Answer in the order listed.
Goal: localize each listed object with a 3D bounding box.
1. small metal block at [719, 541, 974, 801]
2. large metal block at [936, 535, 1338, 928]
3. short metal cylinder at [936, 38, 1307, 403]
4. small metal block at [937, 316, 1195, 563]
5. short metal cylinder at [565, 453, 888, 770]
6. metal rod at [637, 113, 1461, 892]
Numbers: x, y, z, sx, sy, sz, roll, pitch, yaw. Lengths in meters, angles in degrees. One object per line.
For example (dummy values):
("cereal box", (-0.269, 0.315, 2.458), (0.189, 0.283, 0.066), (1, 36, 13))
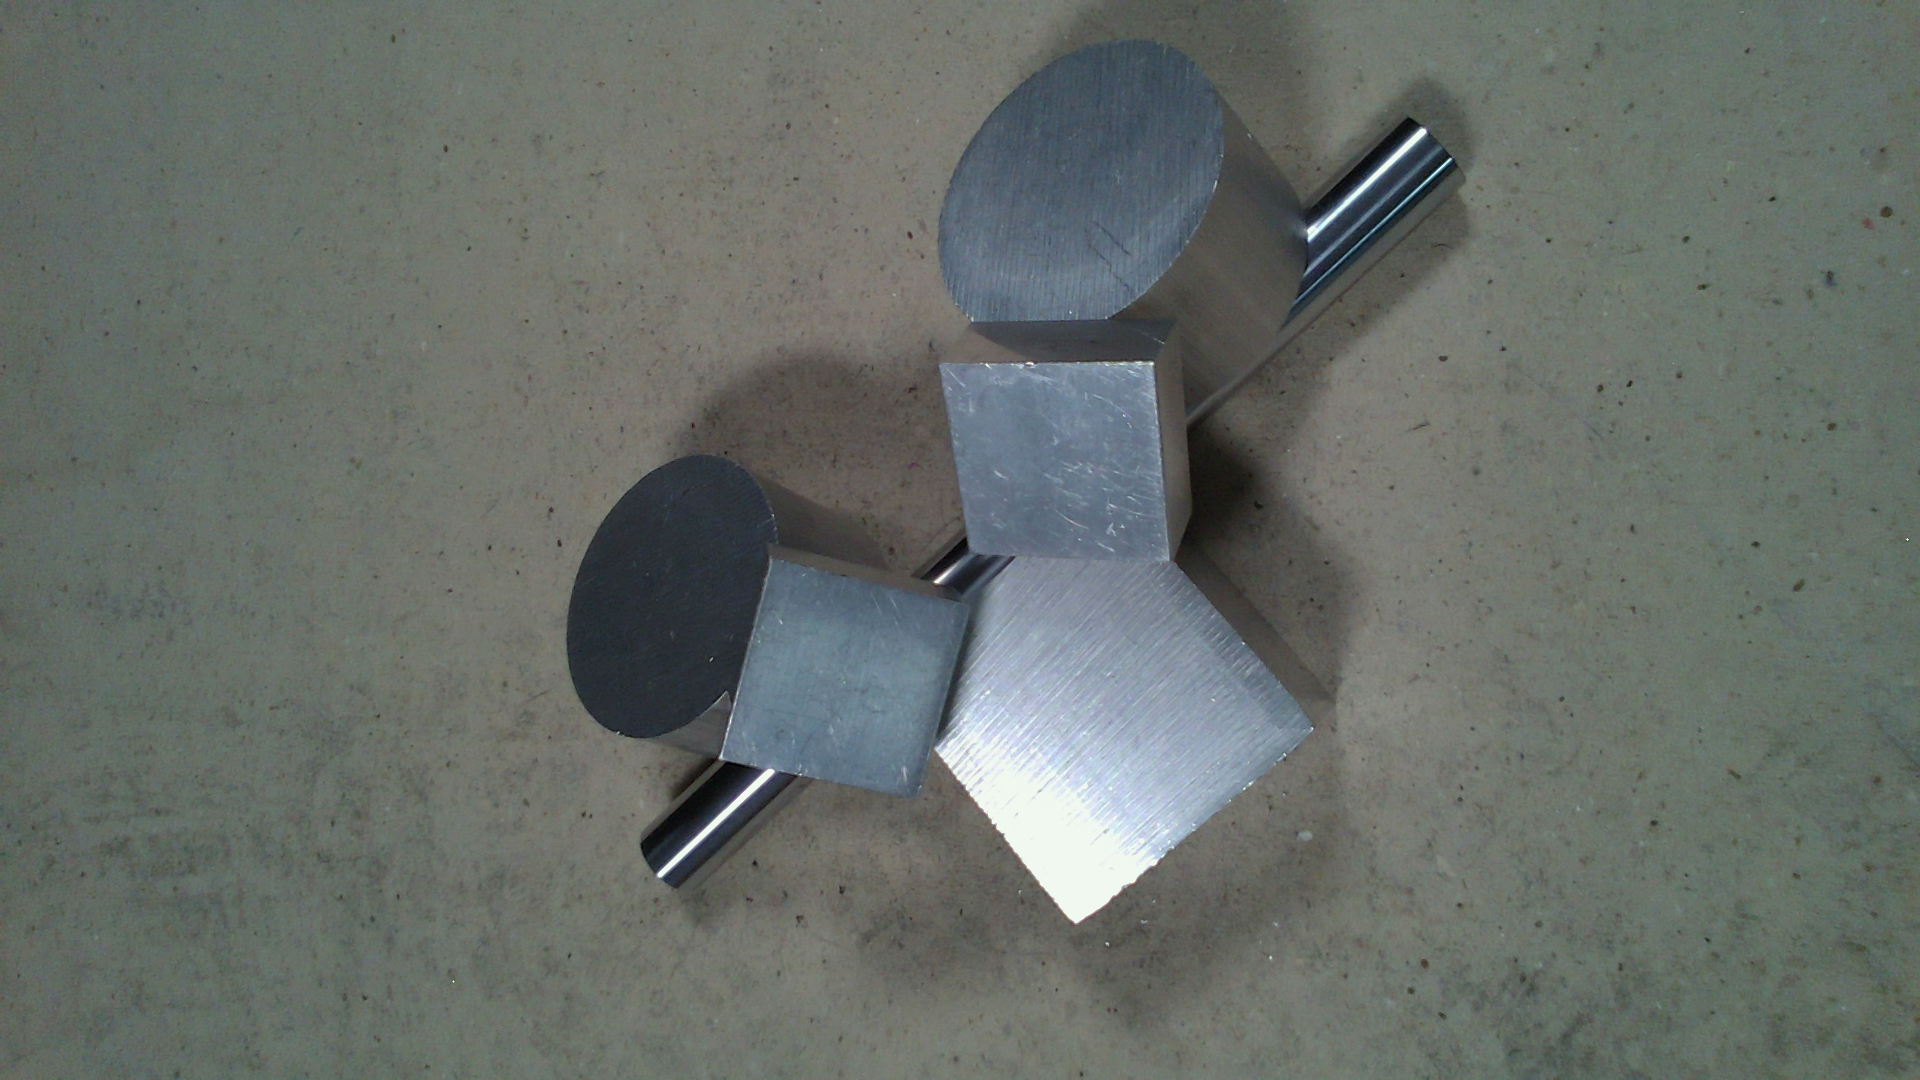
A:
("small metal block", (-0.029, 0.032, 0.341), (0.050, 0.025, 0.050), (14, 96, -13))
("large metal block", (0.041, 0.041, 0.366), (0.080, 0.050, 0.080), (-43, 77, 15))
("short metal cylinder", (0.041, -0.078, 0.352), (0.080, 0.050, 0.080), (-14, 64, 32))
("small metal block", (0.026, -0.024, 0.320), (0.050, 0.025, 0.050), (2, 121, 20))
("short metal cylinder", (-0.066, 0.022, 0.392), (0.080, 0.050, 0.080), (-14, 64, 32))
("metal rod", (0.014, -0.001, 0.390), (0.300, 0.025, 0.025), (-43, 76, 15))
